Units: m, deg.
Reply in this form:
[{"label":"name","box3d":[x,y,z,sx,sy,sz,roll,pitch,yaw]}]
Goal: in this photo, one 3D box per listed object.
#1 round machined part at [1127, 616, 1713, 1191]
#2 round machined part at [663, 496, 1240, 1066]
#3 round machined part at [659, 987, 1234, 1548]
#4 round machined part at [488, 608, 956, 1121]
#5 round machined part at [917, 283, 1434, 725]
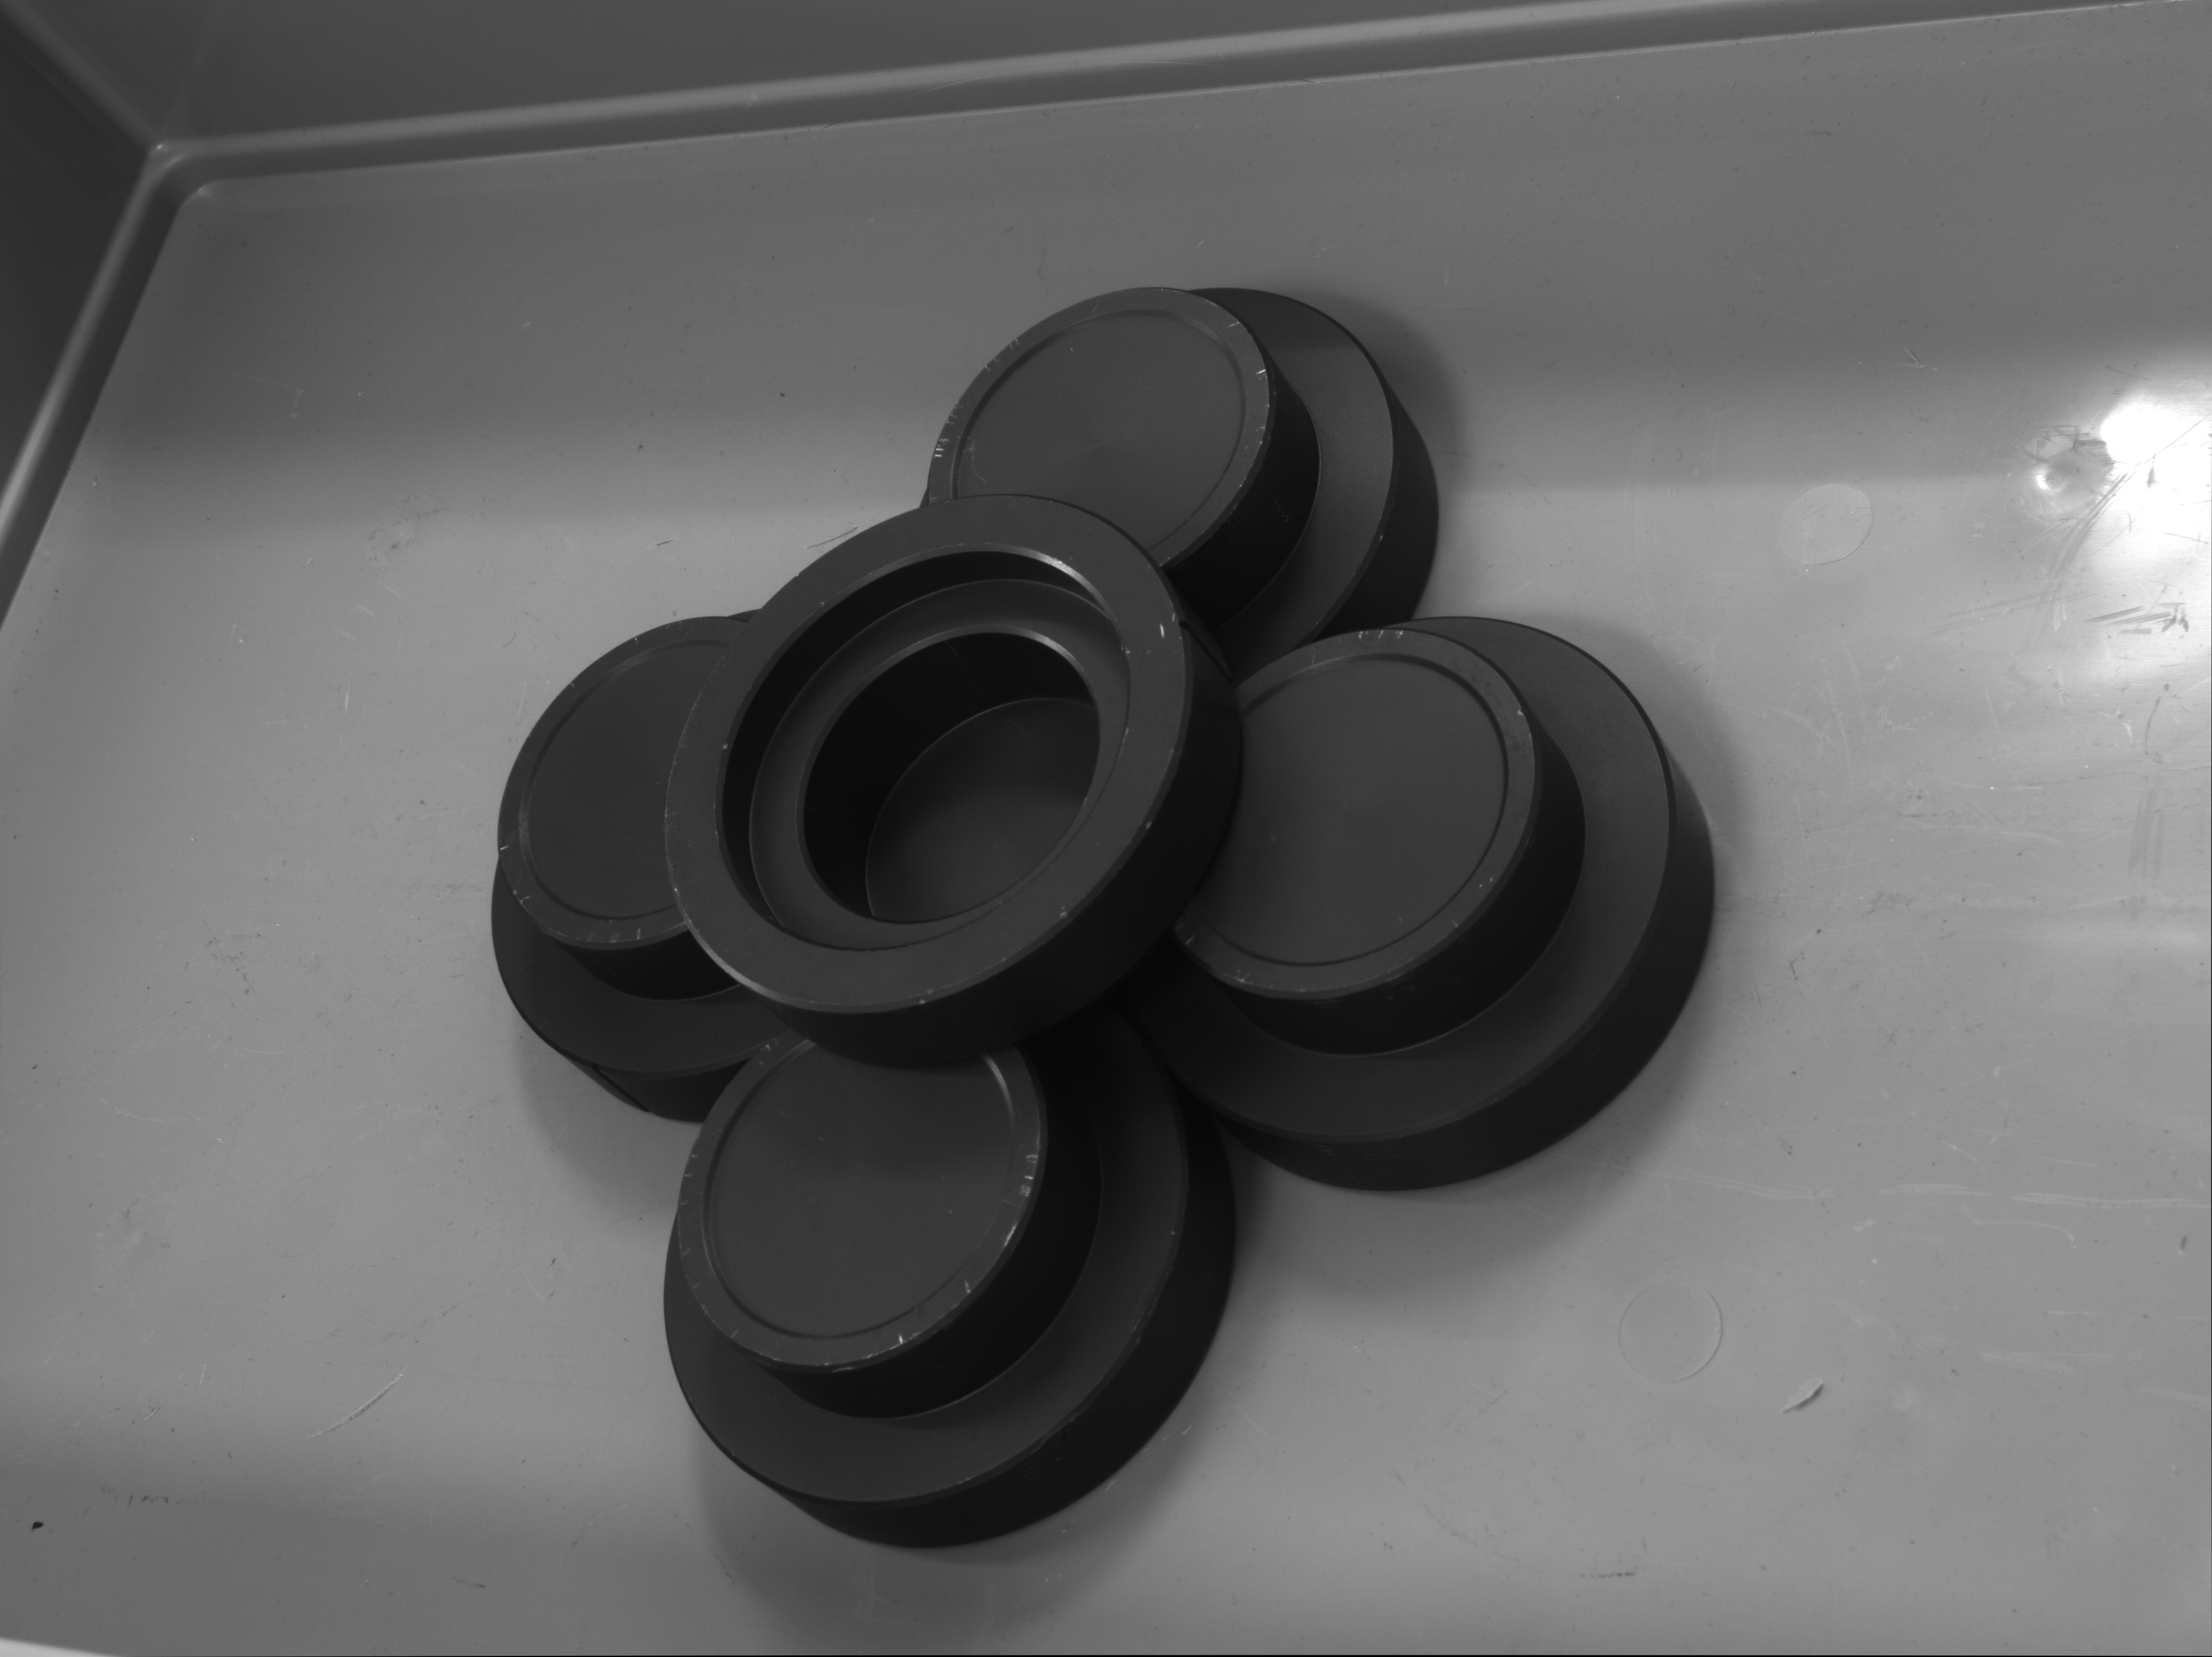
[{"label":"round machined part","box3d":[0.046,0.007,0.602,0.098,0.042,0.098,-13,56,21]},{"label":"round machined part","box3d":[-0.022,-0.004,0.619,0.098,0.042,0.098,-13,56,21]},{"label":"round machined part","box3d":[-0.032,0.066,0.608,0.098,0.042,0.098,-13,55,19]},{"label":"round machined part","box3d":[-0.072,0.001,0.670,0.098,0.042,0.098,-13,56,21]},{"label":"round machined part","box3d":[0.006,-0.059,0.664,0.098,0.042,0.098,-13,56,21]}]
